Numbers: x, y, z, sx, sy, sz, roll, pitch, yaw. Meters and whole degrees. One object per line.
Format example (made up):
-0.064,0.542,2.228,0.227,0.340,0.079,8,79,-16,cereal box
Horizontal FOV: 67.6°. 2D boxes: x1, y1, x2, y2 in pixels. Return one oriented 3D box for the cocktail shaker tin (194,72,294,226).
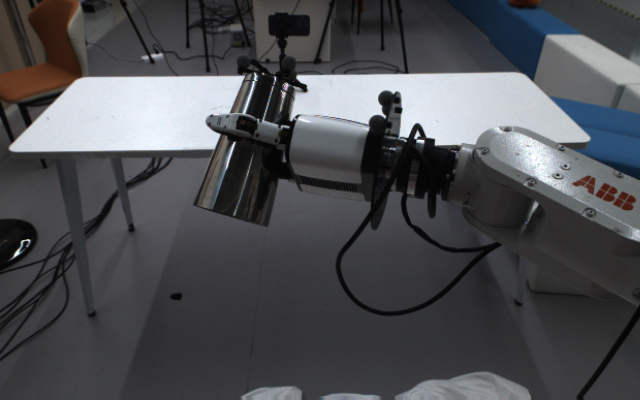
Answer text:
-0.084,-0.061,0.586,0.093,0.170,0.093,15,-6,2,cocktail shaker tin
